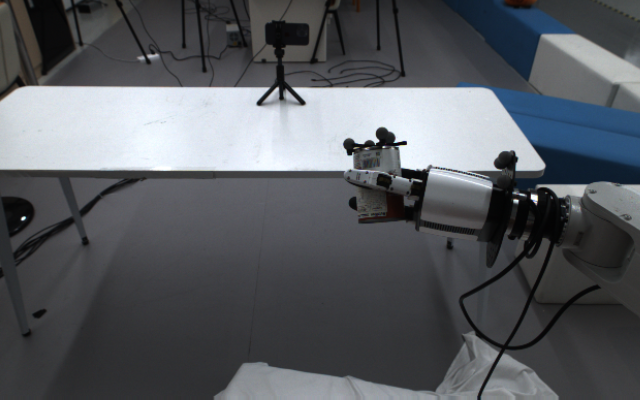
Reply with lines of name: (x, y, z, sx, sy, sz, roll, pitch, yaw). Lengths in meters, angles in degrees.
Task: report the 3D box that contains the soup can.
soup can: (0.084, -0.020, 0.682, 0.067, 0.101, 0.067, -5, -5, 0)
